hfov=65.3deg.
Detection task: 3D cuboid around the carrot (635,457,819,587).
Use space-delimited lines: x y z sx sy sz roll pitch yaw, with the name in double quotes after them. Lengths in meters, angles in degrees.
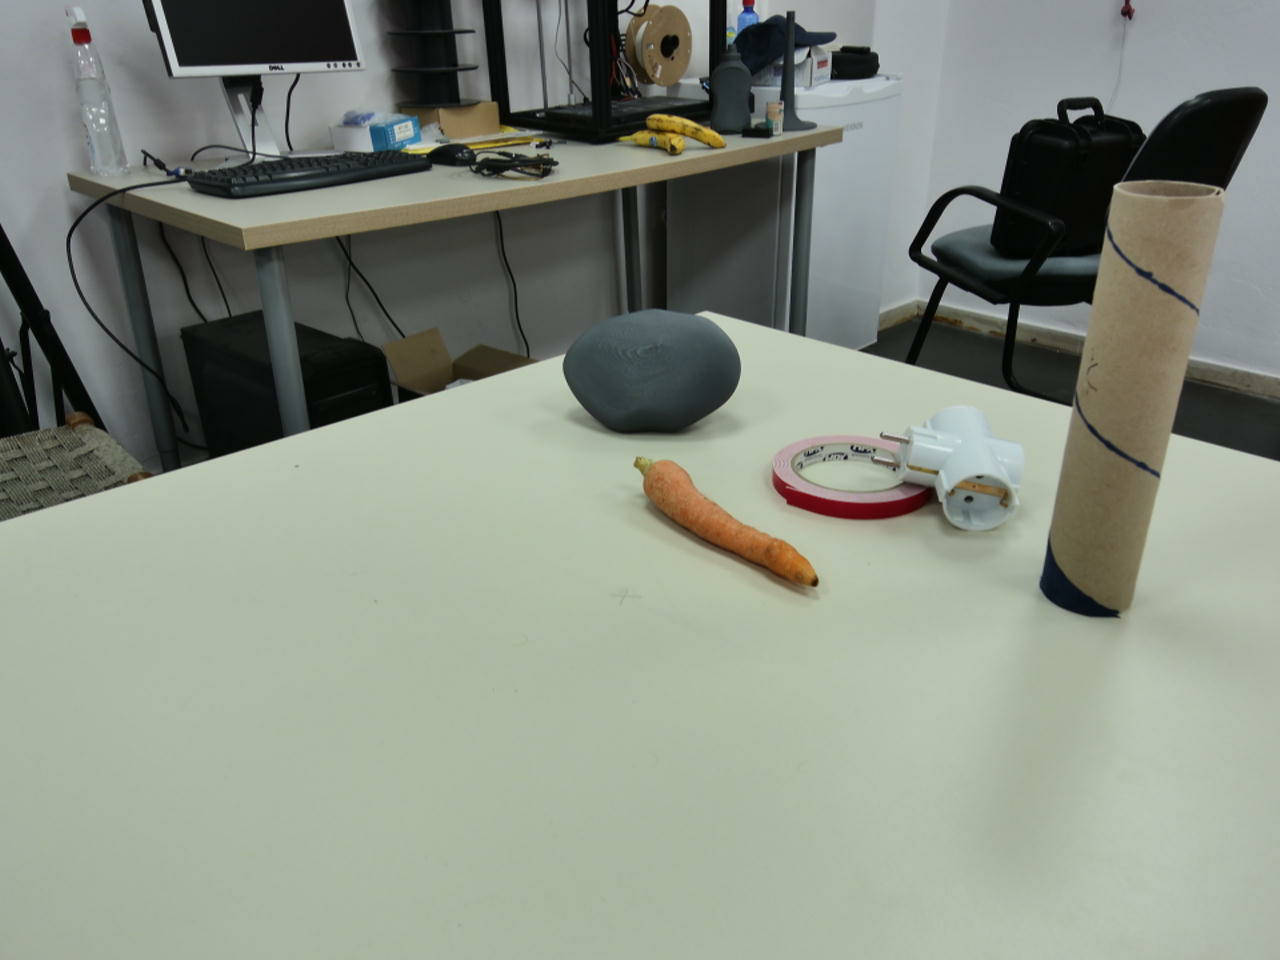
0.049 0.023 0.620 0.030 0.032 0.173 -15 28 -30 "carrot"
